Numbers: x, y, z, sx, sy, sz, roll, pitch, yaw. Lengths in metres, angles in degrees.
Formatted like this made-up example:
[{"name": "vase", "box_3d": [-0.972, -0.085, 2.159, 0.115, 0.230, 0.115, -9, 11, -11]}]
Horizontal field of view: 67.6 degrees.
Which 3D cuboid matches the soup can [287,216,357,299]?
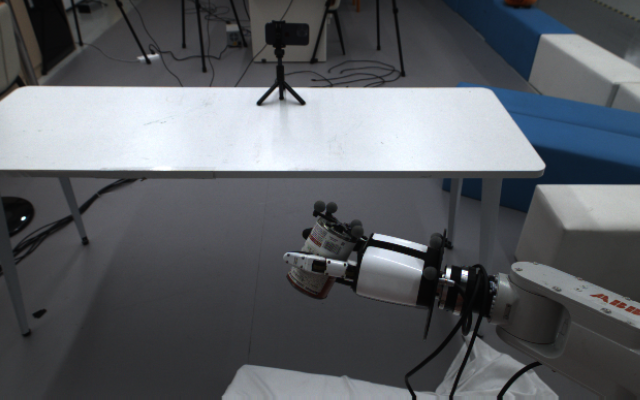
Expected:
[{"name": "soup can", "box_3d": [0.005, 0.085, 0.708, 0.067, 0.101, 0.067, 27, 10, -5]}]
